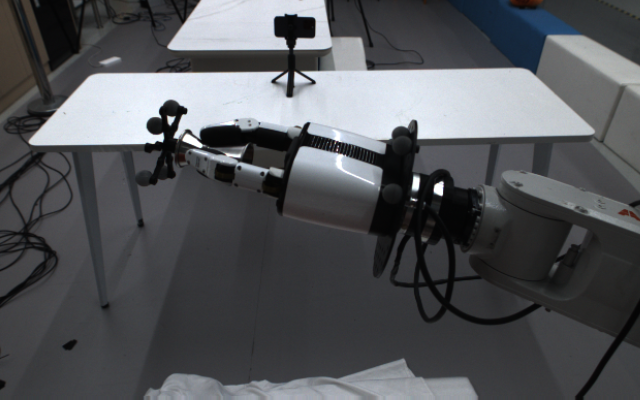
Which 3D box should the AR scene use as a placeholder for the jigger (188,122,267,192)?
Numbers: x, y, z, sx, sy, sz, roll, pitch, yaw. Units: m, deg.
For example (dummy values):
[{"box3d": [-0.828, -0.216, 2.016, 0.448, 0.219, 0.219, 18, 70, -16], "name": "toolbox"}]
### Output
[{"box3d": [-0.100, -0.046, 0.491, 0.071, 0.043, 0.043, 14, 36, 5], "name": "jigger"}]
